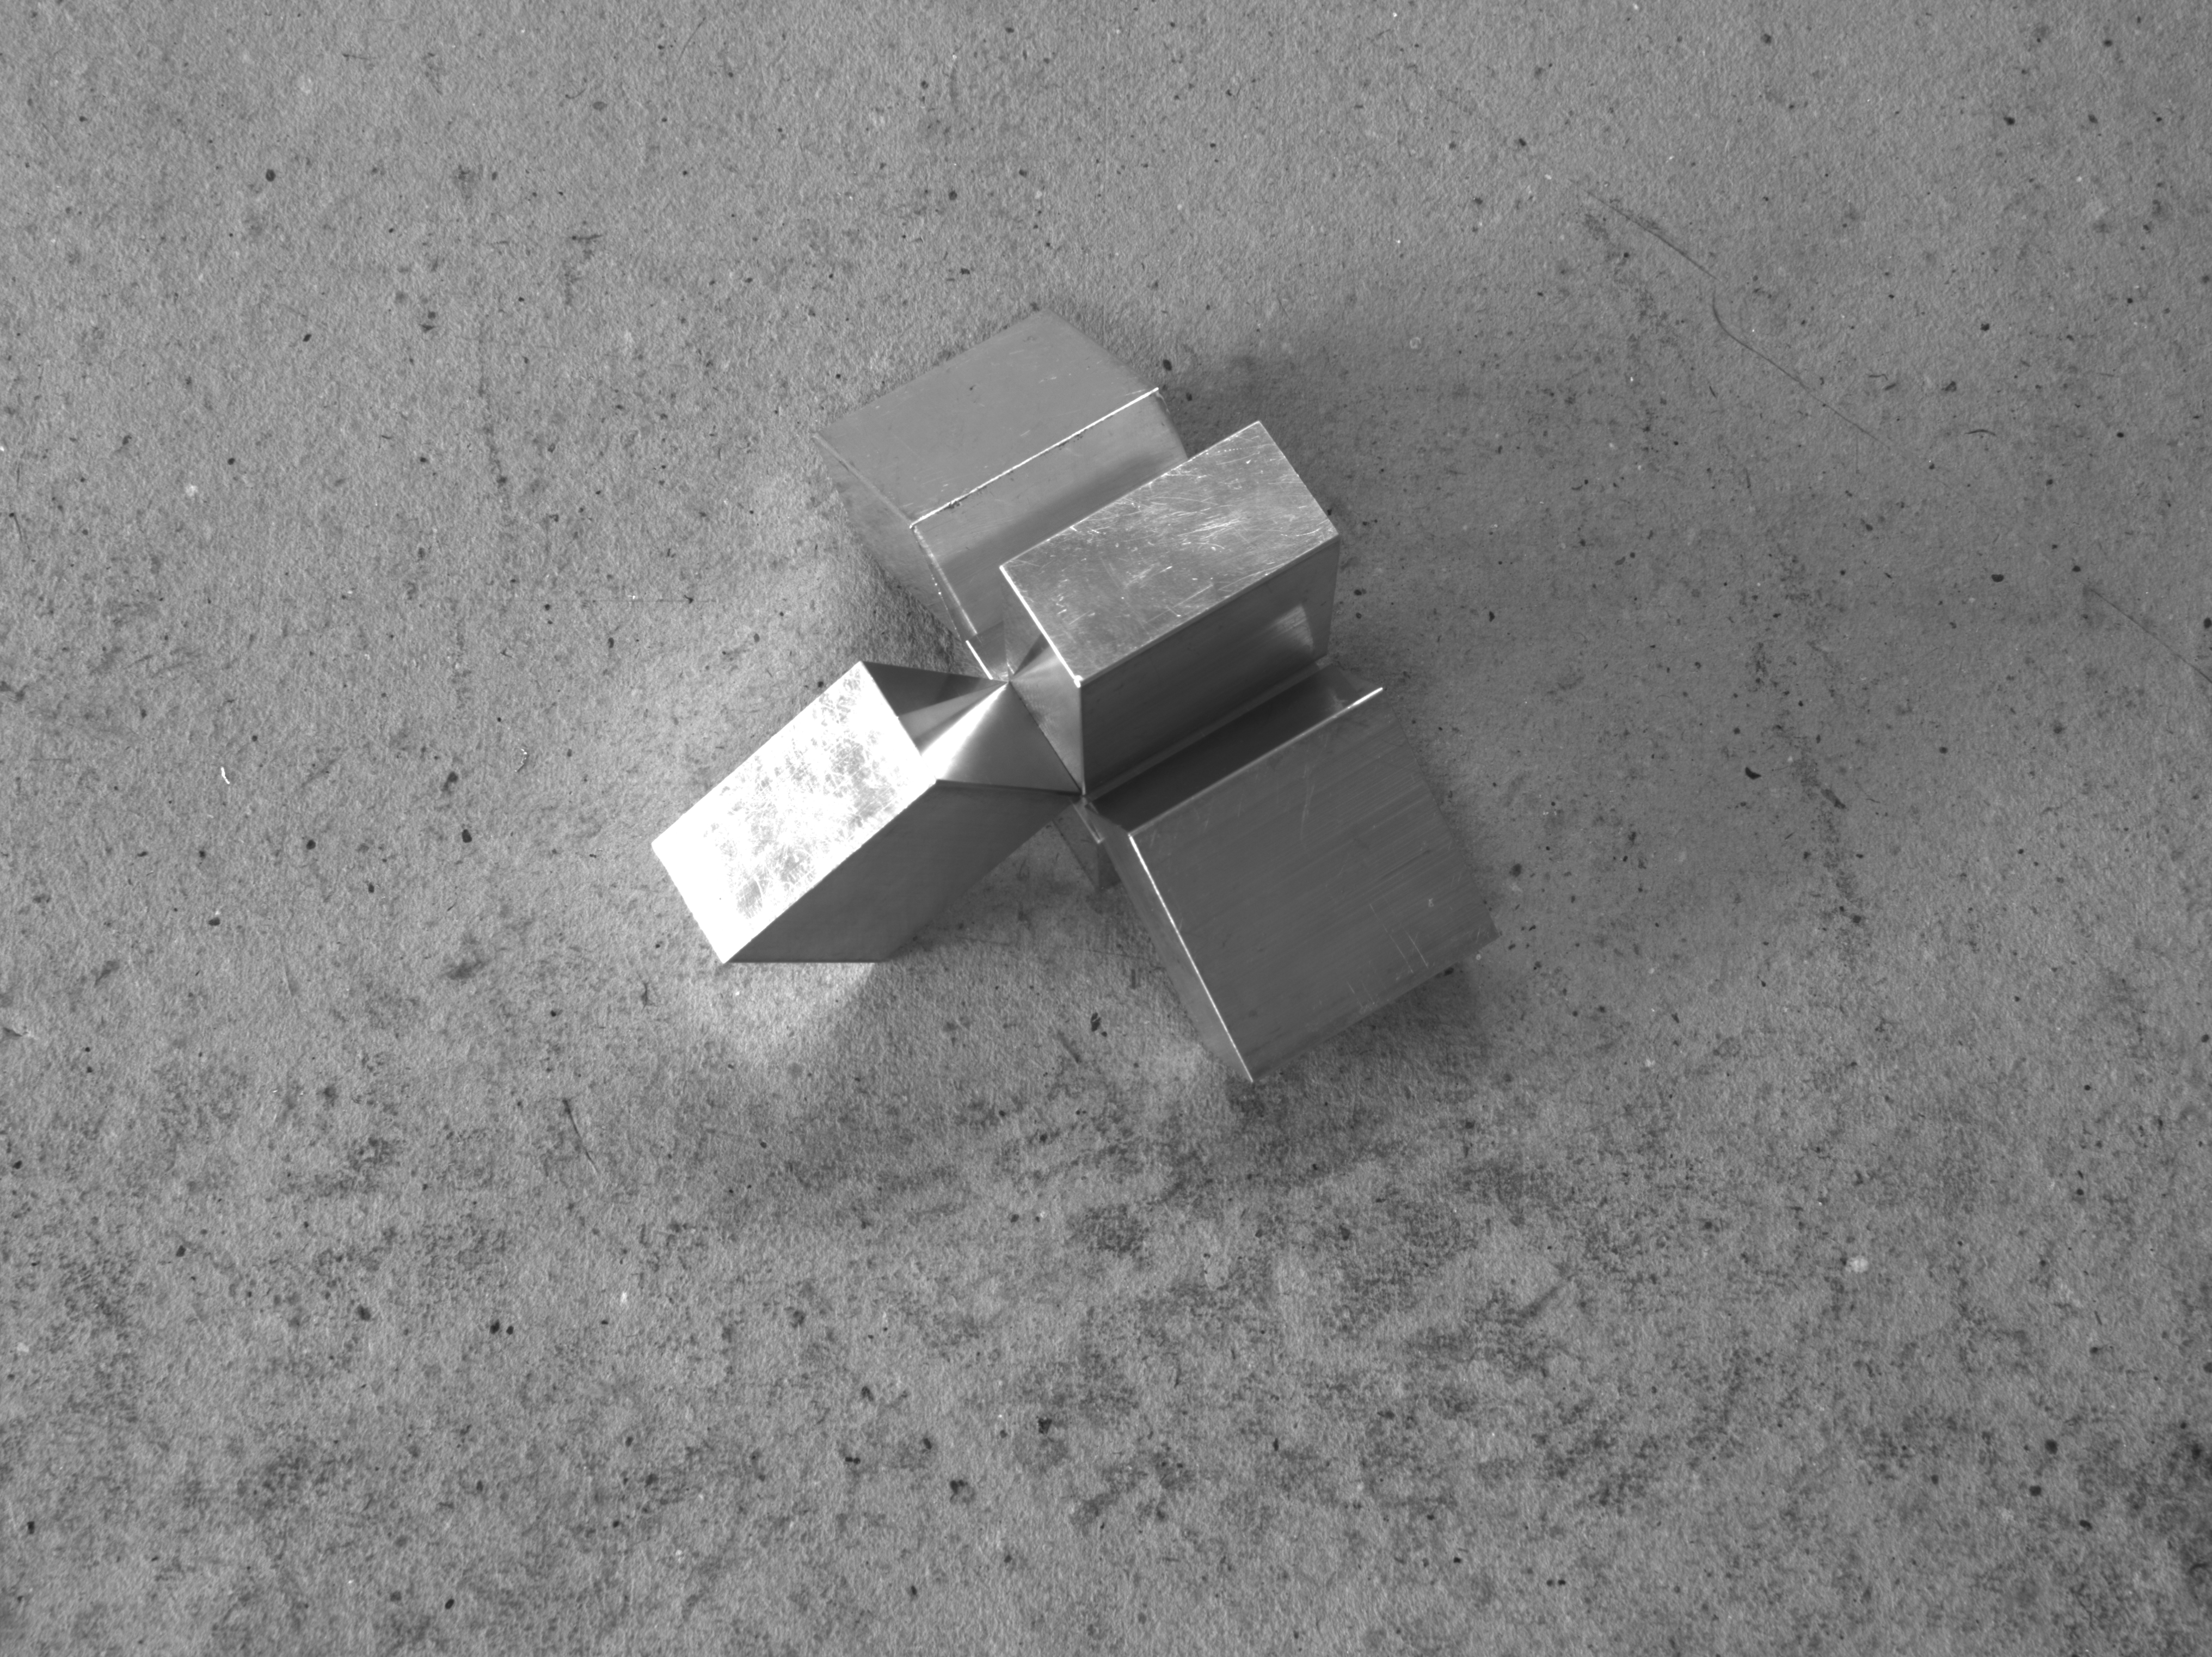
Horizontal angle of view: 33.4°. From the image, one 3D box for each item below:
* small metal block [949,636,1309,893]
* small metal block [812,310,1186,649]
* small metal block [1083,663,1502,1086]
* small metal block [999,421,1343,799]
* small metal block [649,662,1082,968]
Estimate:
[{"bbox_3d":[0.007,-0.025,0.656,0.050,0.025,0.050,-31,72,-8],"label":"small metal block"},{"bbox_3d":[-0.018,-0.063,0.656,0.050,0.025,0.050,-30,32,-10],"label":"small metal block"},{"bbox_3d":[0.032,0.007,0.630,0.050,0.025,0.050,-30,109,-10],"label":"small metal block"},{"bbox_3d":[0.011,-0.036,0.619,0.050,0.050,0.025,-30,73,-10],"label":"small metal block"},{"bbox_3d":[-0.040,-0.001,0.623,0.050,0.050,0.025,-39,72,21],"label":"small metal block"}]
